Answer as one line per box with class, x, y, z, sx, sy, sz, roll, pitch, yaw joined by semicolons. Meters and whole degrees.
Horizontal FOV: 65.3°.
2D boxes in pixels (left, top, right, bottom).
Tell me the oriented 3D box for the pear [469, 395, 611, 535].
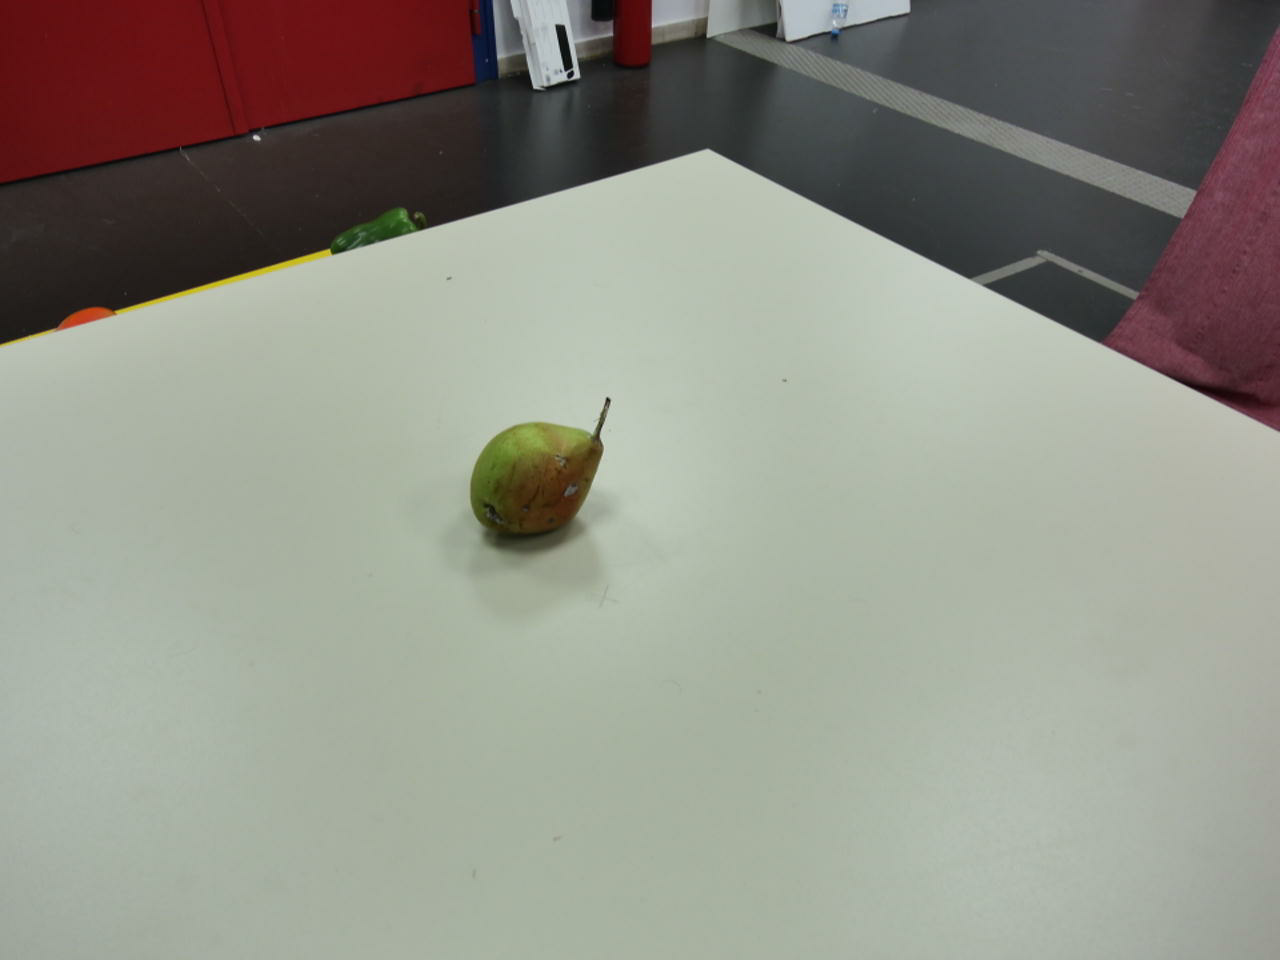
pear;-0.058;-0.004;0.558;0.070;0.069;0.068;9;39;11
